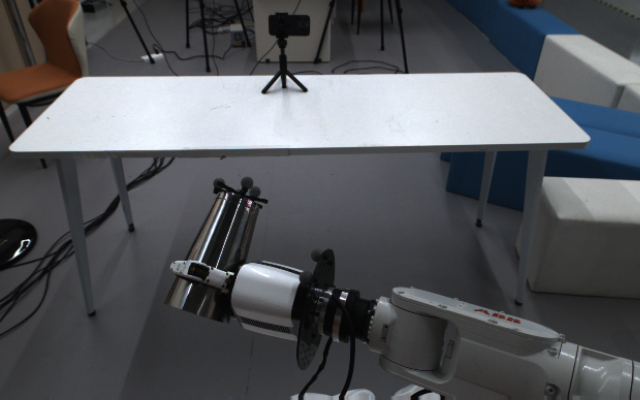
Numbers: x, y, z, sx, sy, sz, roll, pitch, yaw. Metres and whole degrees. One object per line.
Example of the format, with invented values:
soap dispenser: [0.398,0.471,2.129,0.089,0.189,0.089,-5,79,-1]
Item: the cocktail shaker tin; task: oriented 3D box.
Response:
cocktail shaker tin: [-0.146,0.079,0.683,0.093,0.093,0.170,13,73,16]
